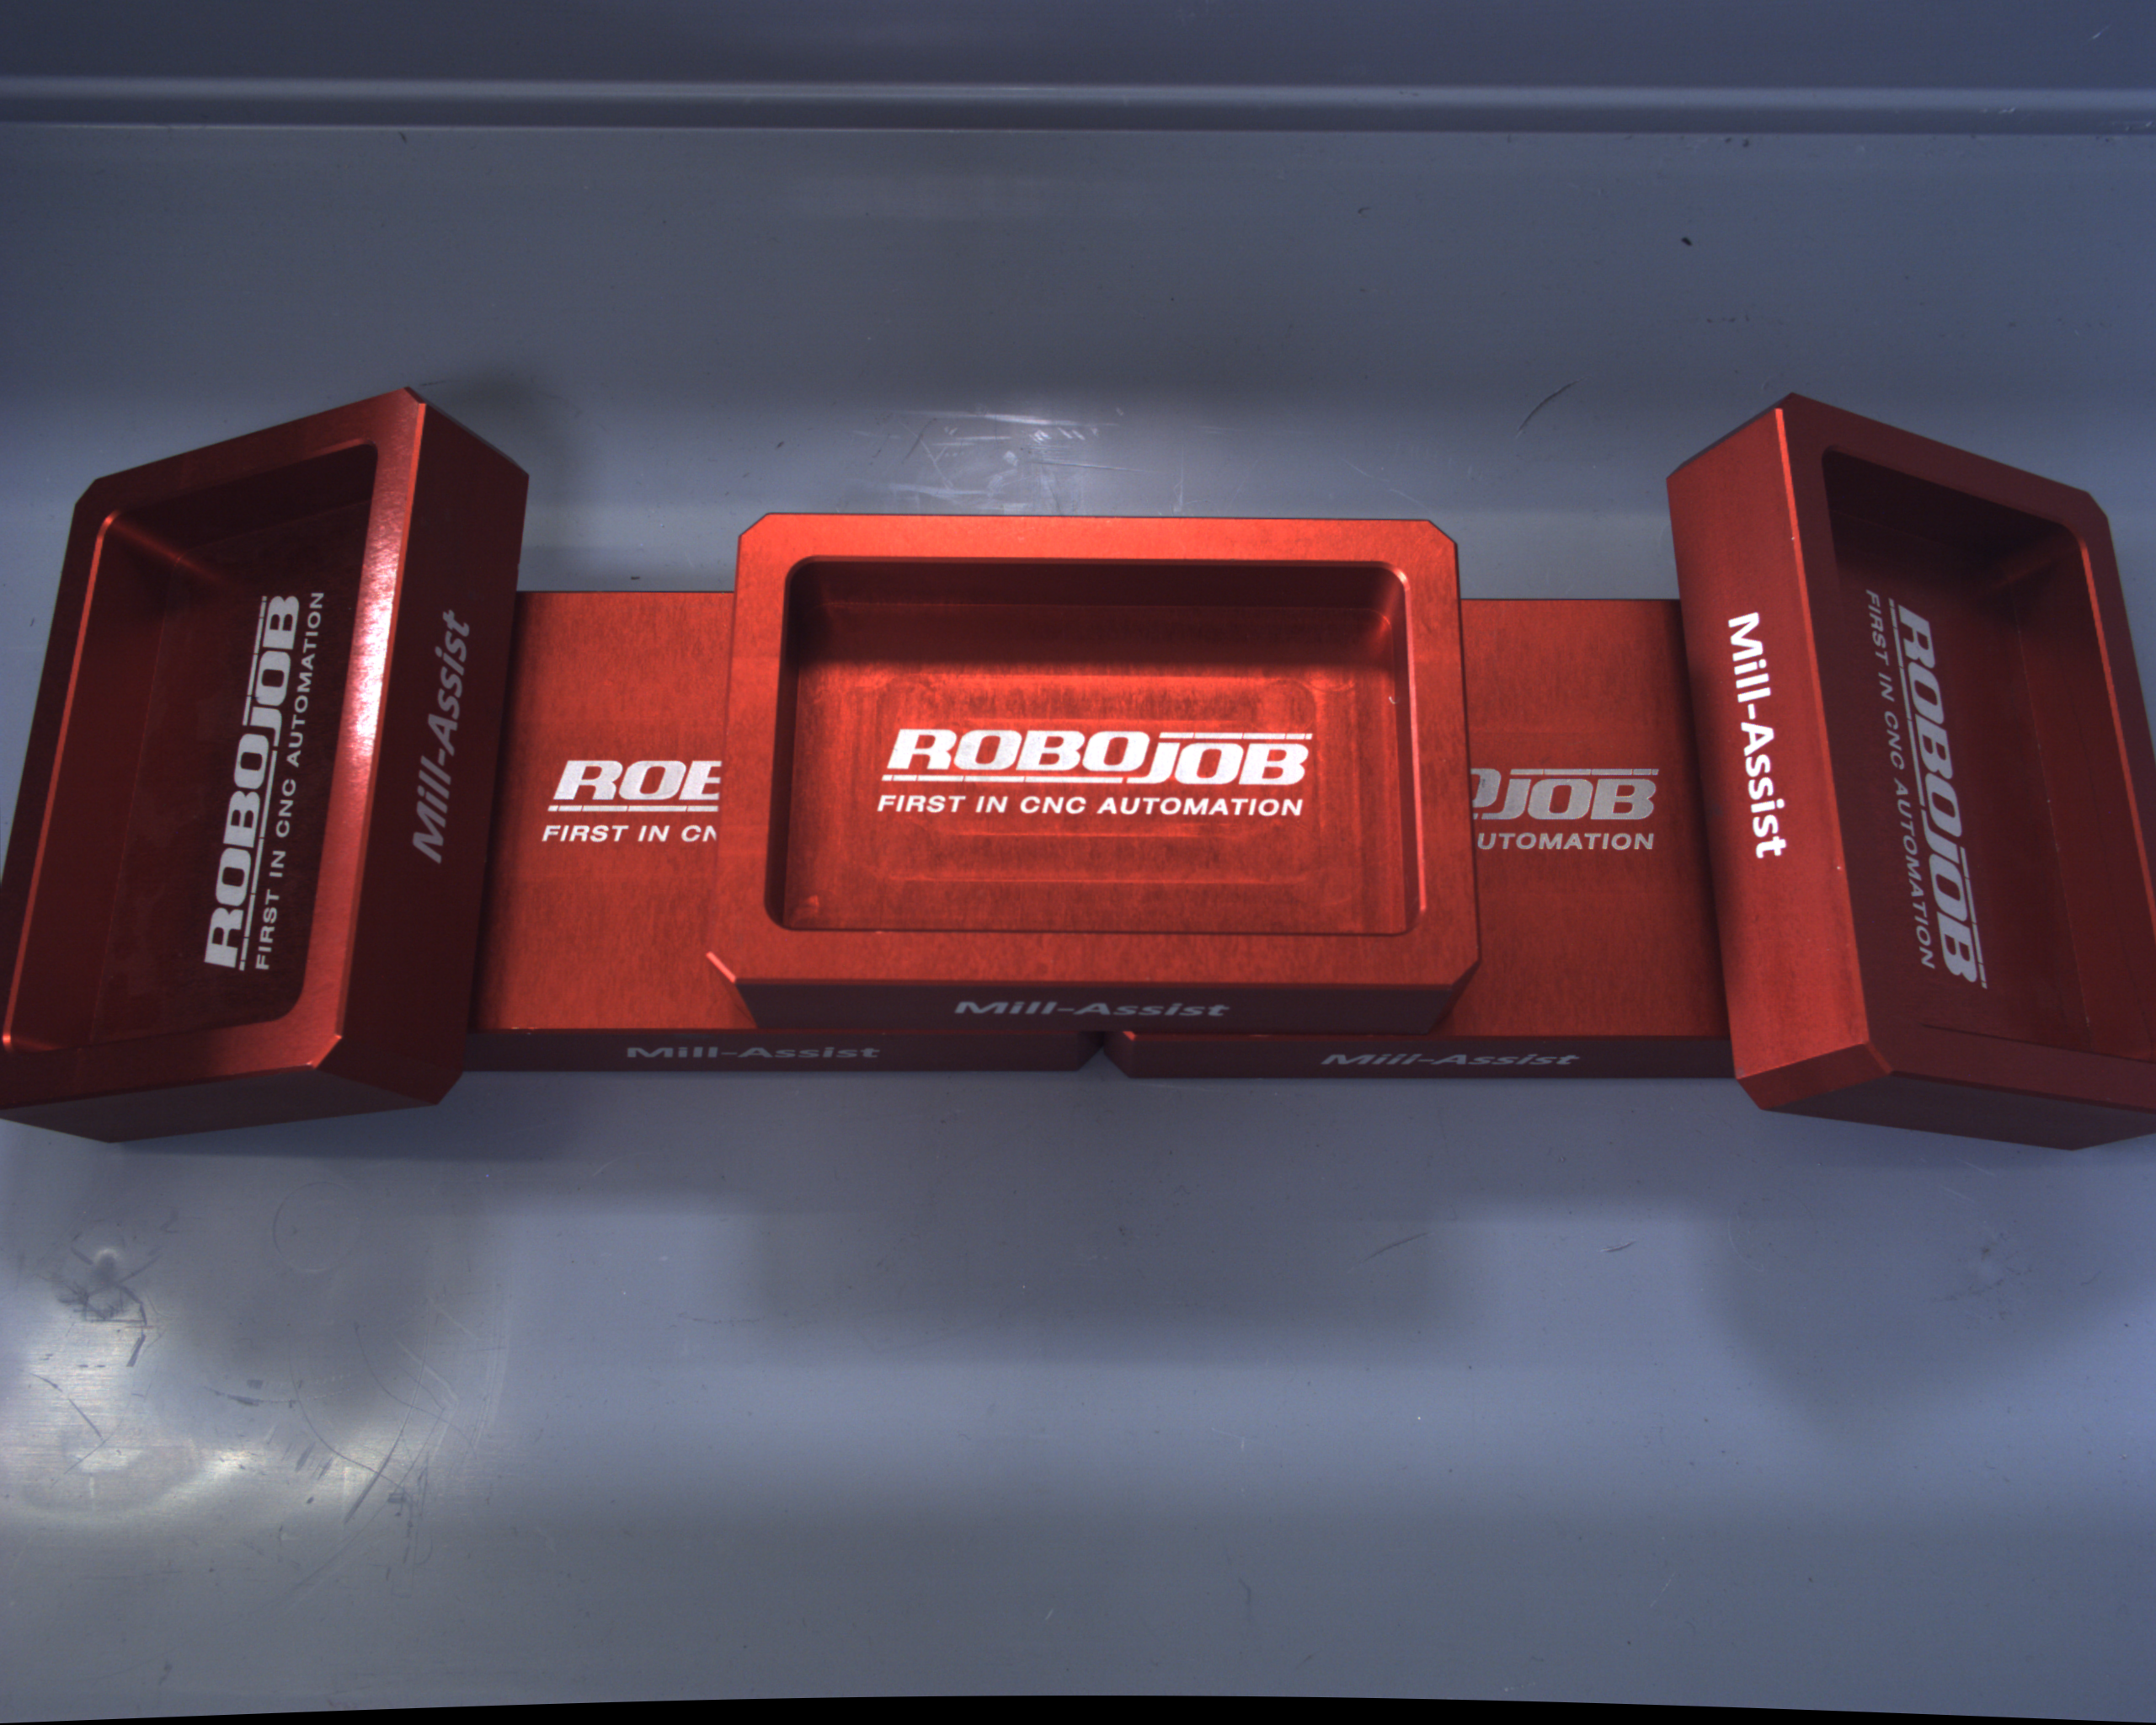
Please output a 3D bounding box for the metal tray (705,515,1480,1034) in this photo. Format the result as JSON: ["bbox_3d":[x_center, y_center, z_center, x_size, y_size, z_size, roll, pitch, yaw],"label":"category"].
[{"bbox_3d":[0.003,-0.016,0.379,0.131,0.030,0.090,1,69,0],"label":"metal tray"}]

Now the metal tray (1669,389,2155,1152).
[{"bbox_3d":[0.161,-0.016,0.392,0.091,0.030,0.130,10,67,-26],"label":"metal tray"}]

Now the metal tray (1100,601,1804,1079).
[{"bbox_3d":[0.070,-0.005,0.408,0.131,0.030,0.090,0,70,0],"label":"metal tray"}]

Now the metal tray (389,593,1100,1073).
[{"bbox_3d":[-0.061,-0.006,0.408,0.131,0.030,0.090,0,70,0],"label":"metal tray"}]

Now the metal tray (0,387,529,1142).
[{"bbox_3d":[-0.154,-0.017,0.392,0.090,0.030,0.130,-9,68,24],"label":"metal tray"}]
